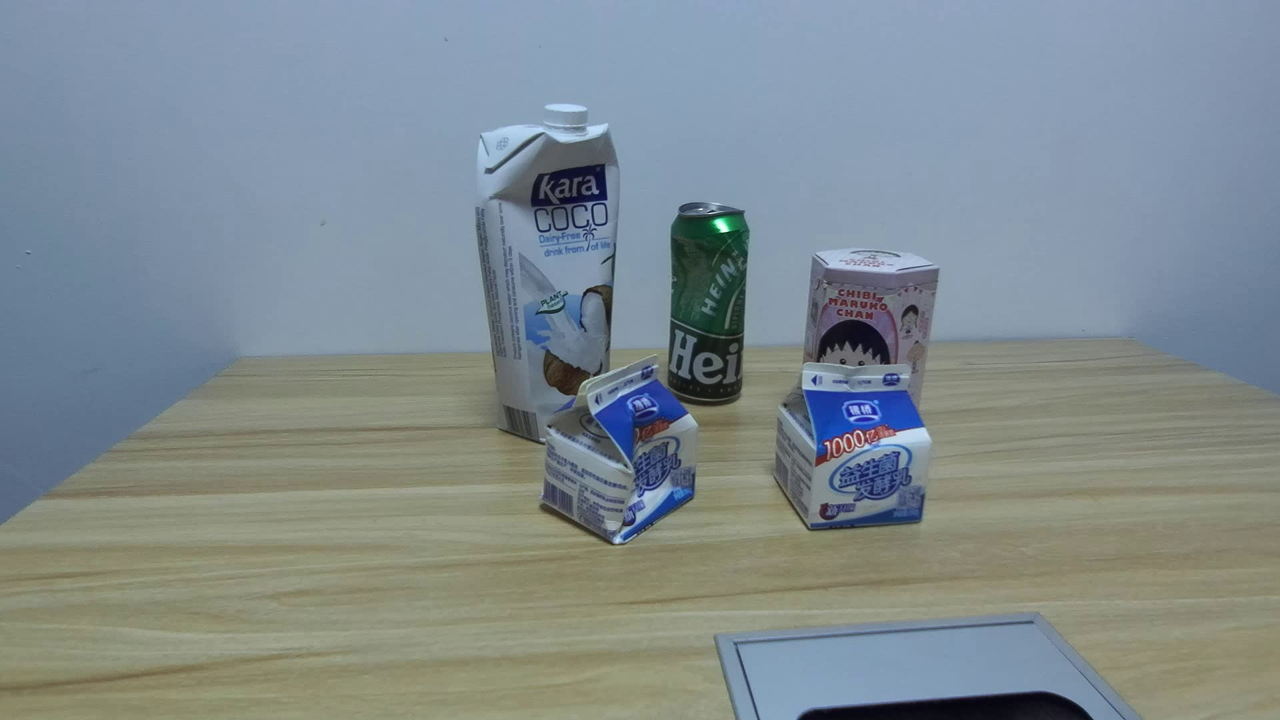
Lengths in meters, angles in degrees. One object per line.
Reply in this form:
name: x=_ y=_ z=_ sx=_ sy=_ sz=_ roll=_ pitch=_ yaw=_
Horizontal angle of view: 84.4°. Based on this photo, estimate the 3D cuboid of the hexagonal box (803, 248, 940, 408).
hexagonal box: x=0.168 y=-0.009 z=0.529 sx=0.091 sy=0.136 sz=0.084 roll=11 pitch=21 yaw=27

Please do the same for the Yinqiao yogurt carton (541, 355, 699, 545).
Yinqiao yogurt carton: x=-0.013 y=0.047 z=0.425 sx=0.070 sy=0.094 sz=0.078 roll=20 pitch=27 yaw=35

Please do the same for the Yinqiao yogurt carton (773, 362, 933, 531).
Yinqiao yogurt carton: x=0.130 y=0.045 z=0.436 sx=0.076 sy=0.092 sz=0.073 roll=-1 pitch=19 yaw=-8

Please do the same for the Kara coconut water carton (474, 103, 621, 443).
Kara coconut water carton: x=-0.064 y=-0.061 z=0.519 sx=0.069 sy=0.238 sz=0.115 roll=17 pitch=24 yaw=36

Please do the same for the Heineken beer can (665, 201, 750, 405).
Heineken beer can: x=0.057 y=-0.046 z=0.598 sx=0.066 sy=0.164 sz=0.077 roll=2 pitch=19 yaw=6
